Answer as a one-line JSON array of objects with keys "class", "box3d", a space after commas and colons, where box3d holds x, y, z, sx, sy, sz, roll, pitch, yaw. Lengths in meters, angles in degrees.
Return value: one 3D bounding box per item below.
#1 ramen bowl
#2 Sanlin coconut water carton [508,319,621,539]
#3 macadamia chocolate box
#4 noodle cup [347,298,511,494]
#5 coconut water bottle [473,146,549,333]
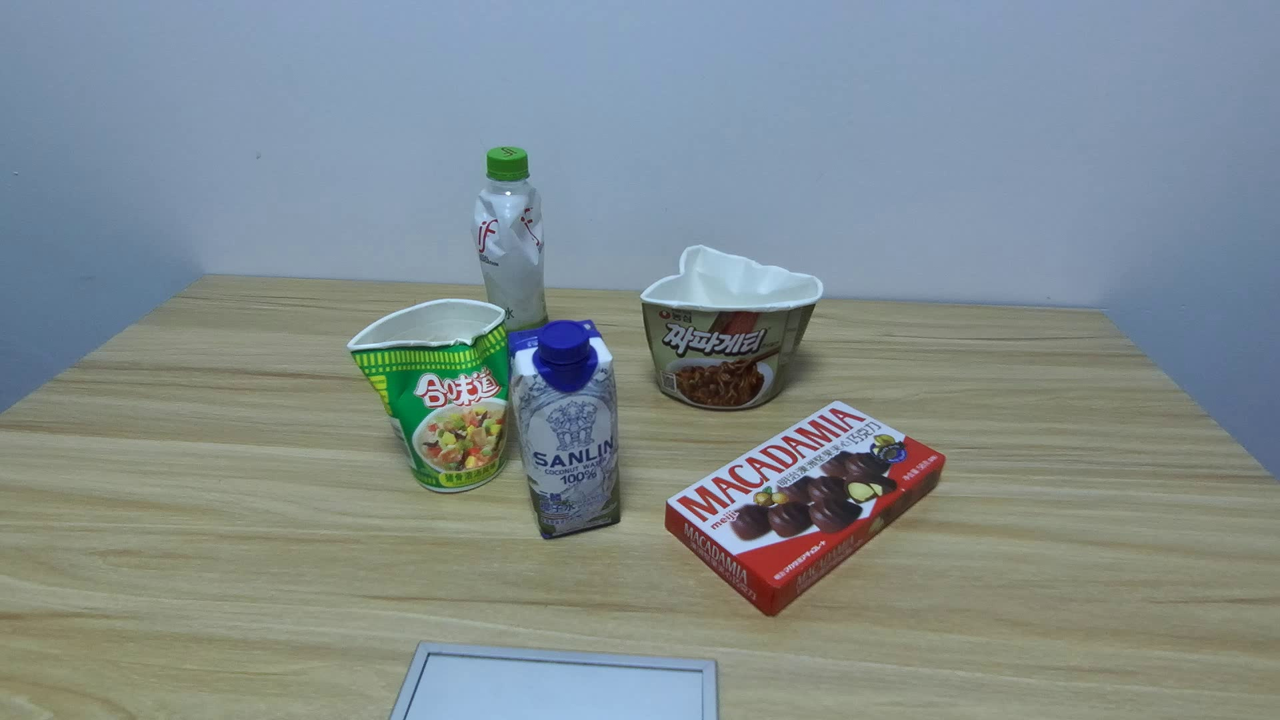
[{"class": "ramen bowl", "box3d": [0.078, -0.025, 0.581, 0.133, 0.097, 0.114, 11, 34, 16]}, {"class": "Sanlin coconut water carton", "box3d": [-0.045, 0.038, 0.435, 0.061, 0.144, 0.060, -10, 32, -15]}, {"class": "macadamia chocolate box", "box3d": [0.112, 0.088, 0.468, 0.178, 0.027, 0.095, -23, 38, -33]}, {"class": "noodle cup", "box3d": [-0.131, 0.026, 0.489, 0.082, 0.122, 0.075, -3, 22, 14]}, {"class": "coconut water bottle", "box3d": [-0.102, -0.075, 0.578, 0.067, 0.187, 0.067, 1, 27, 0]}]
